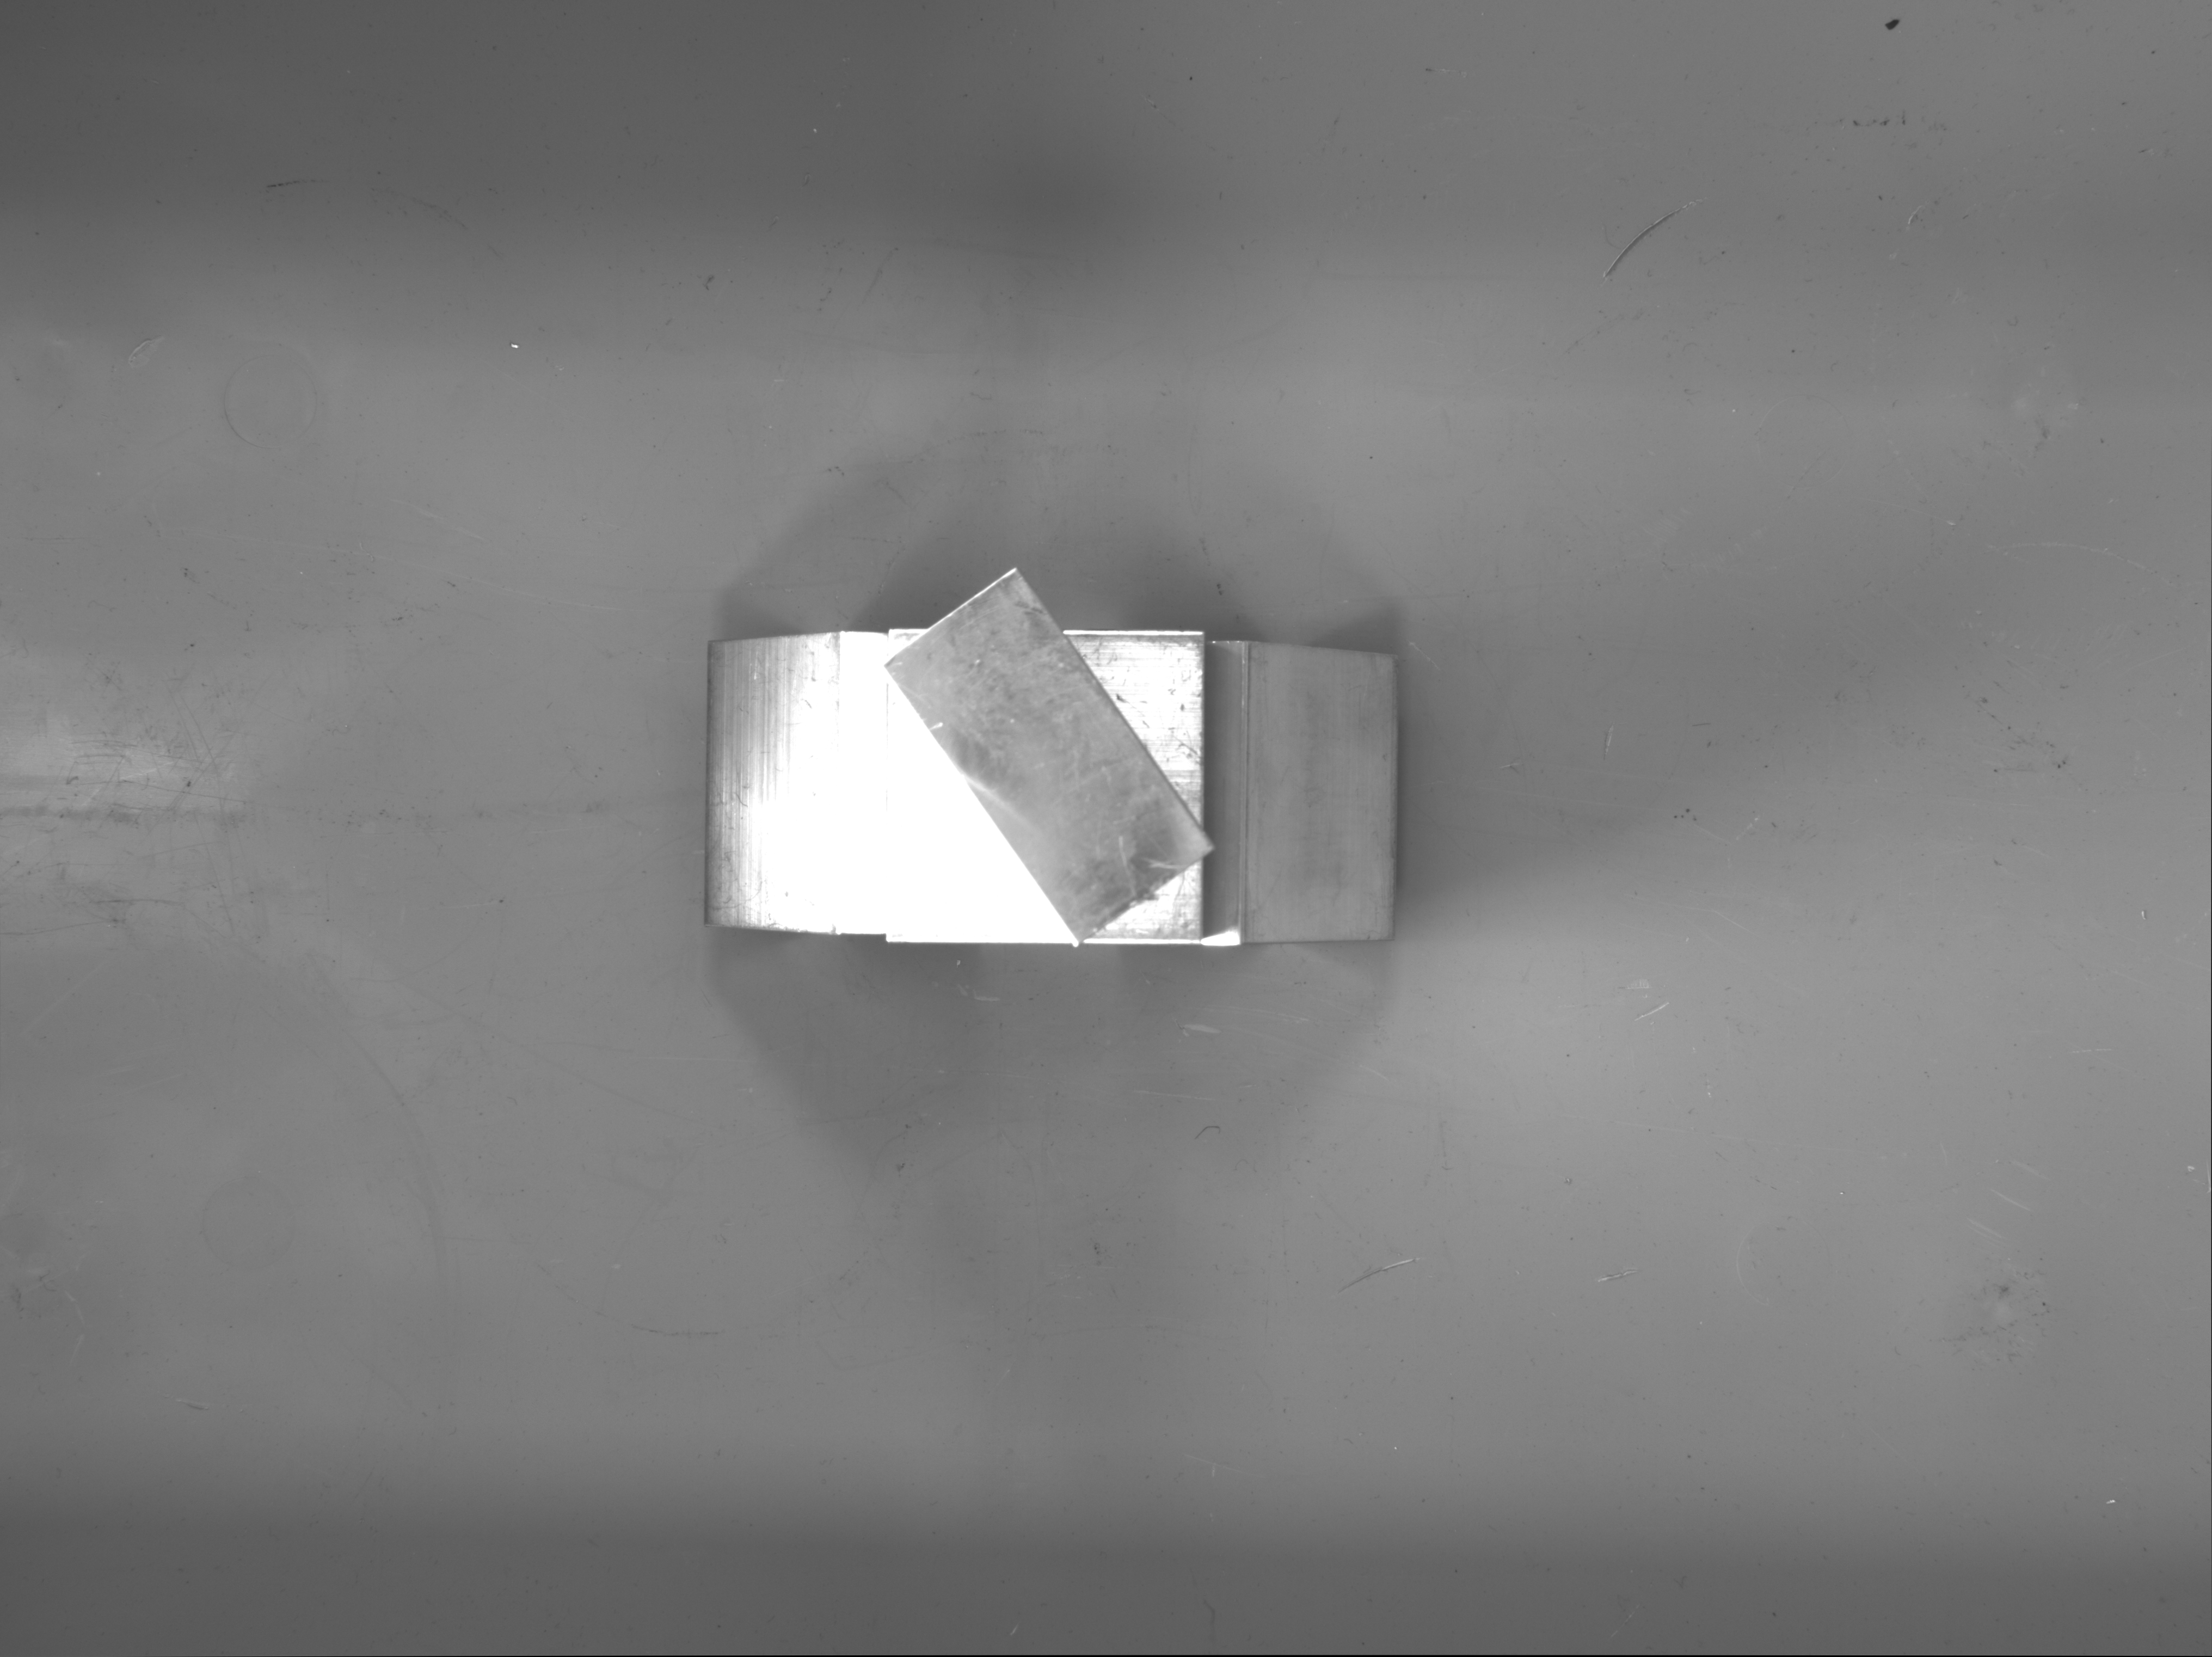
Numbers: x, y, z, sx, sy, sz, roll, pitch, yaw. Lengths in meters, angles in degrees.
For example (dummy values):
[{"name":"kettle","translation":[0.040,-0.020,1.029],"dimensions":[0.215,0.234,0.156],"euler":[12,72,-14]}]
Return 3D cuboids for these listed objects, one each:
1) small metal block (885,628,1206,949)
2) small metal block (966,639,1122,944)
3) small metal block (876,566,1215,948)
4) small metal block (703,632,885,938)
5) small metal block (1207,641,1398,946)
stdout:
[{"name":"small metal block","translation":[-0.009,-0.006,0.593],"dimensions":[0.050,0.025,0.050],"euler":[1,90,0]},{"name":"small metal block","translation":[-0.010,-0.006,0.631],"dimensions":[0.025,0.050,0.050],"euler":[1,90,0]},{"name":"small metal block","translation":[-0.008,-0.010,0.556],"dimensions":[0.025,0.050,0.050],"euler":[-35,90,1]},{"name":"small metal block","translation":[-0.046,-0.007,0.628],"dimensions":[0.025,0.050,0.050],"euler":[1,90,-33]},{"name":"small metal block","translation":[0.026,-0.006,0.629],"dimensions":[0.025,0.050,0.050],"euler":[1,90,34]}]
